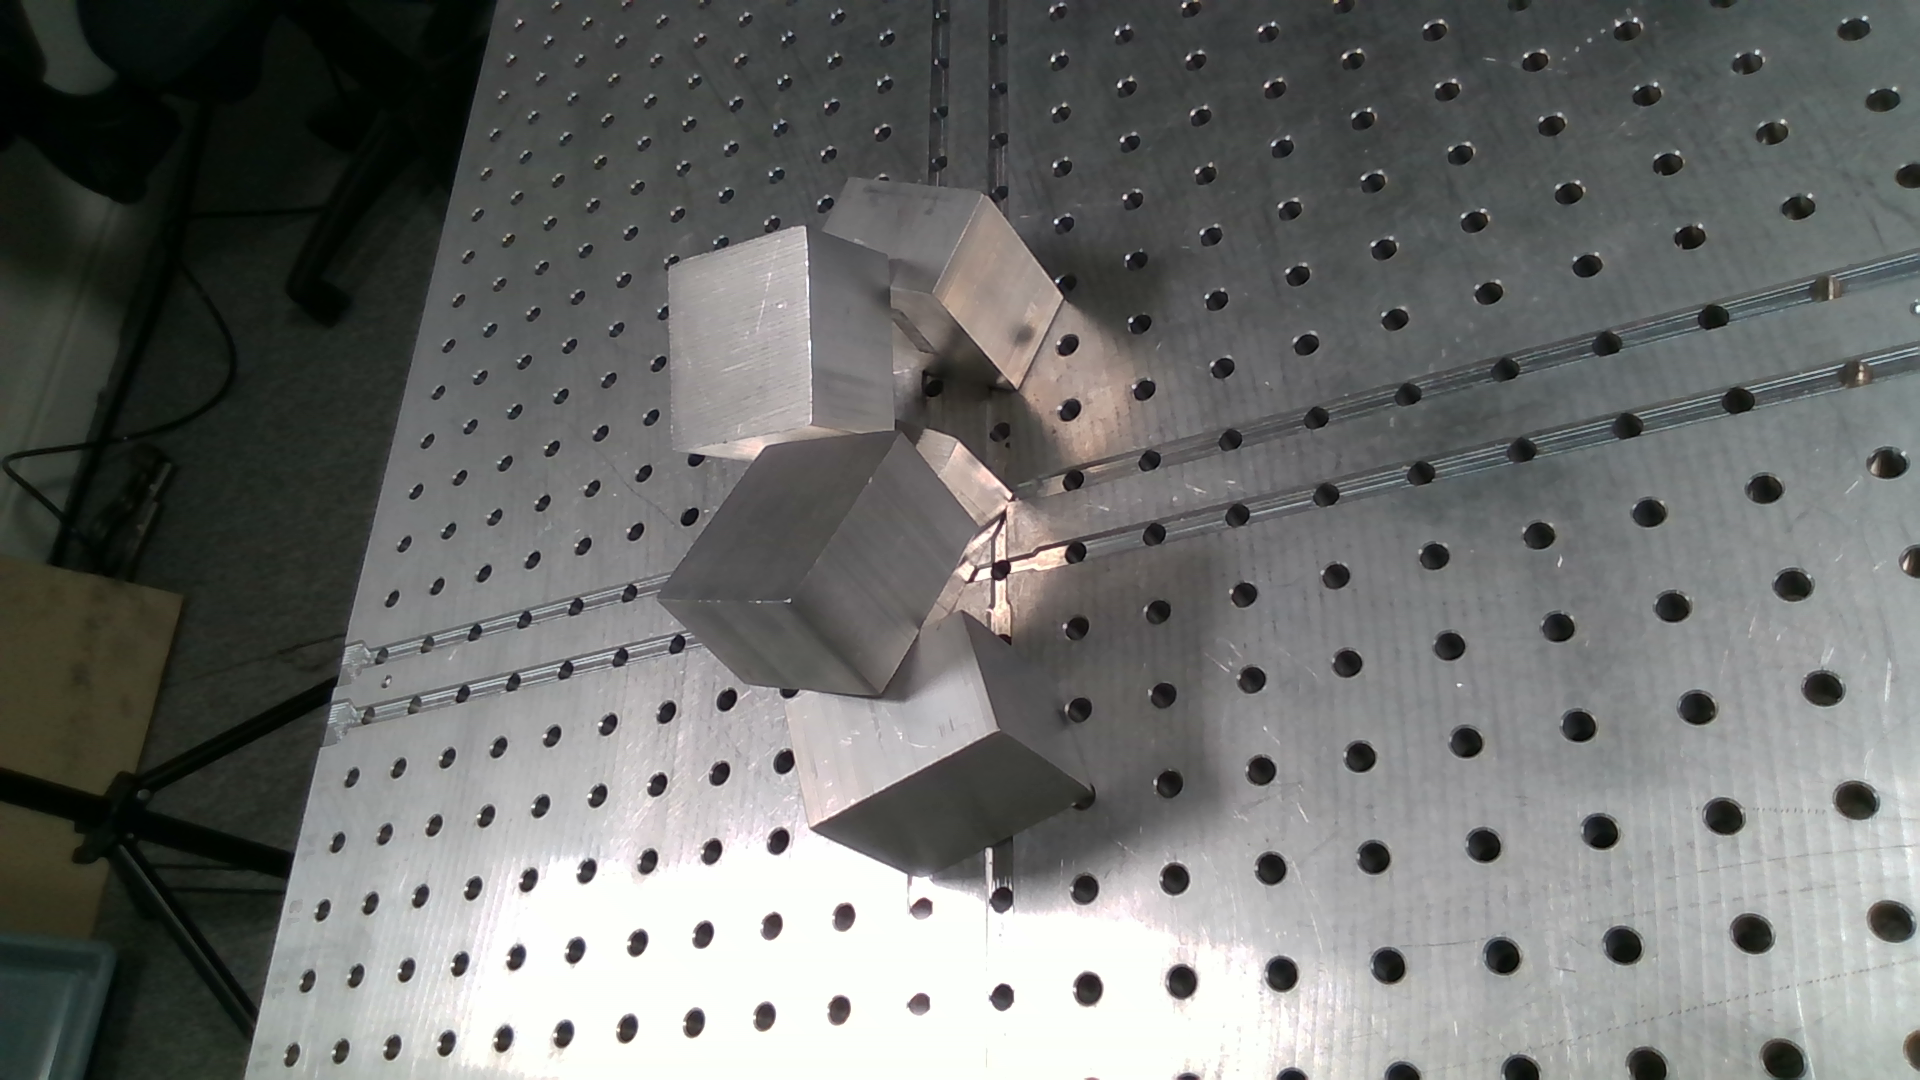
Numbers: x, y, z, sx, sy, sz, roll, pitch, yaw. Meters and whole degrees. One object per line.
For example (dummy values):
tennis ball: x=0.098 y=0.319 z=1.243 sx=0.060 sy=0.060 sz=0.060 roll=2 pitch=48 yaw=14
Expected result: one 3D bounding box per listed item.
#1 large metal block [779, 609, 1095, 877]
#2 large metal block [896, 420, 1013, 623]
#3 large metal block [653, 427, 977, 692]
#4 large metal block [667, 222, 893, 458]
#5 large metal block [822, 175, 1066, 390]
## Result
large metal block: x=-0.008 y=0.079 z=0.516 sx=0.080 sy=0.080 sz=0.050 roll=-29 pitch=54 yaw=16
large metal block: x=-0.037 y=-0.007 z=0.598 sx=0.080 sy=0.050 sz=0.080 roll=20 pitch=77 yaw=37
large metal block: x=-0.053 y=0.007 z=0.512 sx=0.080 sy=0.050 sz=0.080 roll=-2 pitch=48 yaw=45
large metal block: x=-0.076 y=-0.079 z=0.576 sx=0.080 sy=0.050 sz=0.080 roll=-6 pitch=83 yaw=37
large metal block: x=-0.012 y=-0.116 z=0.621 sx=0.080 sy=0.080 sz=0.050 roll=17 pitch=75 yaw=37
